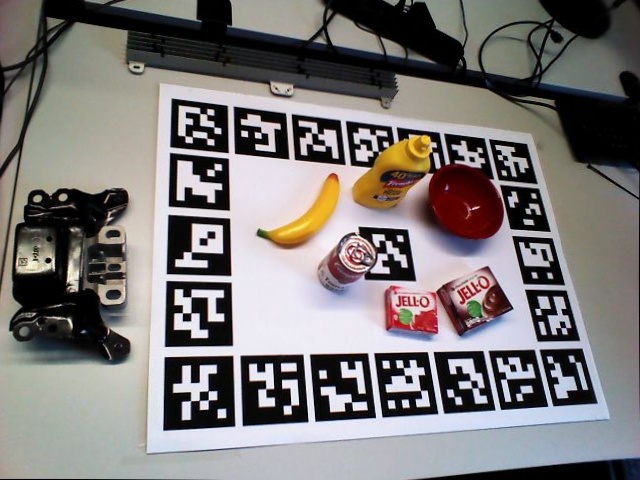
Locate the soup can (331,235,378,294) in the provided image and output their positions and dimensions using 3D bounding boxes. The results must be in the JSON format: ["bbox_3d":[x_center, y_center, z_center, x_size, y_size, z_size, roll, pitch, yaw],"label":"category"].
[{"bbox_3d":[0.065,0.040,0.829,0.068,0.103,0.067,8,63,-17],"label":"soup can"}]

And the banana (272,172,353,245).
[{"bbox_3d":[0.006,-0.049,0.895,0.074,0.039,0.196,37,60,11],"label":"banana"}]

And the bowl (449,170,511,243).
[{"bbox_3d":[0.308,-0.055,0.992,0.161,0.055,0.161,6,65,-14],"label":"bowl"}]

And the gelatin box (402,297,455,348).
[{"bbox_3d":[0.183,0.140,0.876,0.089,0.030,0.073,10,68,-14],"label":"gelatin box"}]

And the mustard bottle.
[{"bbox_3d":[0.170,-0.112,0.877,0.096,0.193,0.058,4,63,-18],"label":"mustard bottle"}]

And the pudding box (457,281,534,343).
[{"bbox_3d":[0.312,0.120,0.923,0.113,0.039,0.090,-21,81,-25],"label":"pudding box"}]
